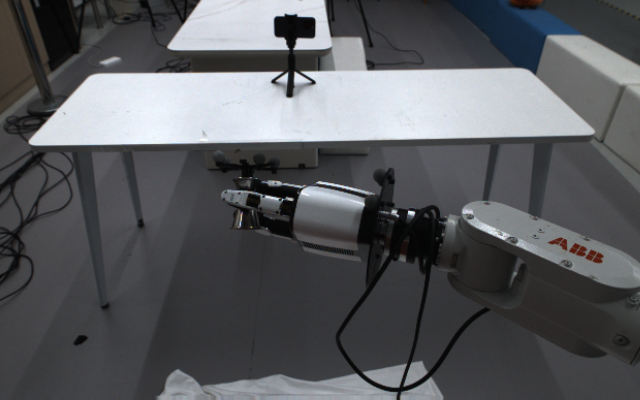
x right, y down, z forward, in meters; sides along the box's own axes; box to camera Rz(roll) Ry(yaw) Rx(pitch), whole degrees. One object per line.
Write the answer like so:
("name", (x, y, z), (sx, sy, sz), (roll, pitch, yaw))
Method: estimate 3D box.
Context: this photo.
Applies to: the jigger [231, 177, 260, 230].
("jigger", (-0.100, 0.005, 0.655), (0.043, 0.071, 0.043), (0, -5, 0))
